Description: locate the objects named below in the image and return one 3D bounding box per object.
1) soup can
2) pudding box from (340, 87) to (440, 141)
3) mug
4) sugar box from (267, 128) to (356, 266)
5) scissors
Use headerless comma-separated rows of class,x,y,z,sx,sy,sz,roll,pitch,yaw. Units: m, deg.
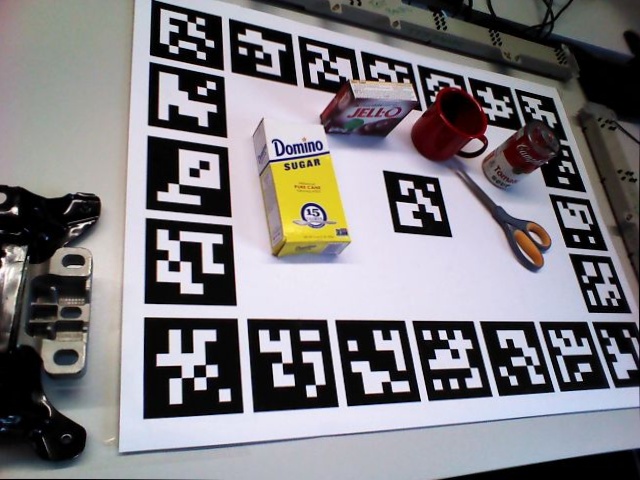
soup can,0.341,-0.120,0.827,0.068,0.103,0.067,10,63,-20
pudding box,0.098,-0.176,0.731,0.113,0.090,0.038,-6,77,-28
mug,0.230,-0.164,0.798,0.092,0.082,0.117,-36,85,-30
sugar box,-0.012,-0.056,0.663,0.092,0.045,0.175,0,70,-23
scissors,0.315,-0.021,0.813,0.087,0.016,0.203,-43,91,-23
